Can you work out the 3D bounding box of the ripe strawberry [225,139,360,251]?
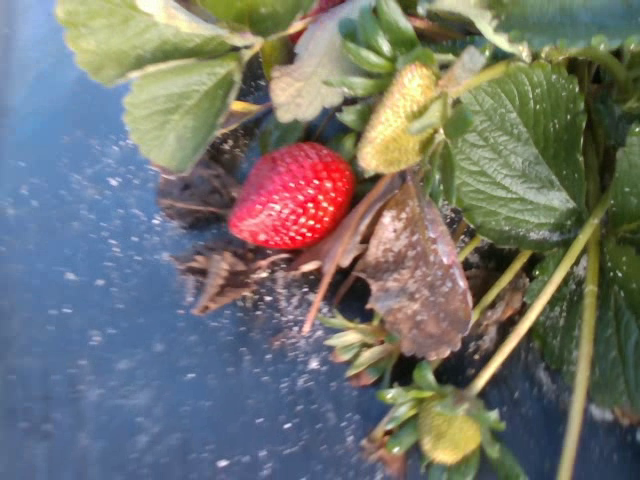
[{"bbox_3d":[-0.009,-0.009,0.142,0.032,0.026,0.030,28,52,32],"label":"ripe strawberry"}]
